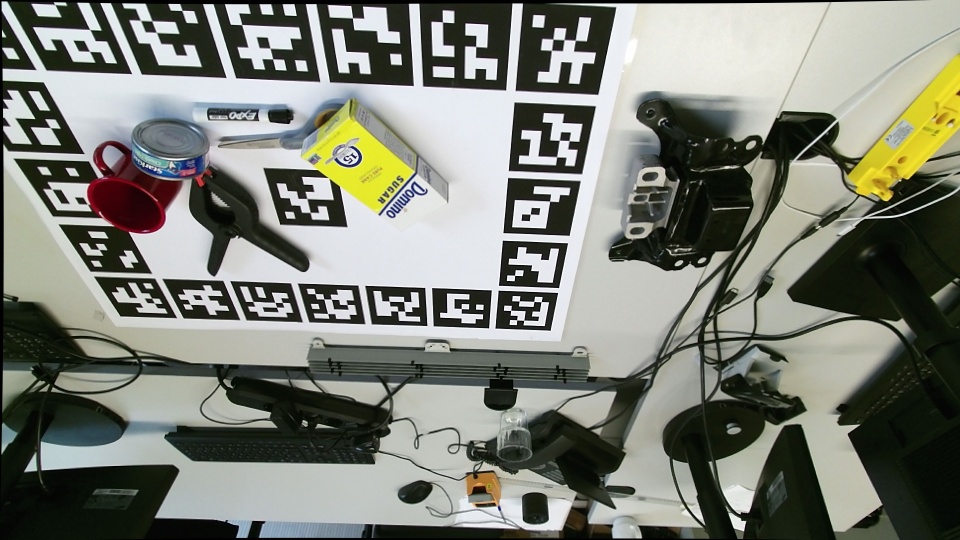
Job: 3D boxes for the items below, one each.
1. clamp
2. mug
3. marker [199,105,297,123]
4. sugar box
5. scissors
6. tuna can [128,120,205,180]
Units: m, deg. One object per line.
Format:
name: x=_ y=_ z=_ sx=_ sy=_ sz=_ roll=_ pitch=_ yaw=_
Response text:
clamp: x=-0.370 y=-0.069 z=0.804 sx=0.166 sy=0.036 sz=0.203 roll=-6 pitch=131 yaw=7
mug: x=-0.459 y=-0.119 z=0.720 sx=0.093 sy=0.081 sz=0.117 roll=-19 pitch=132 yaw=18
marker: x=-0.295 y=-0.199 z=0.683 sx=0.121 sy=0.019 sz=0.019 roll=-2 pitch=131 yaw=2
sugar box: x=-0.143 y=-0.135 z=0.713 sx=0.093 sy=0.045 sz=0.177 roll=-28 pitch=132 yaw=24
scissors: x=-0.250 y=-0.165 z=0.709 sx=0.203 sy=0.016 sz=0.088 roll=-6 pitch=136 yaw=8
tuna can: x=-0.398 y=-0.154 z=0.681 sx=0.086 sy=0.085 sz=0.034 roll=14 pitch=131 yaw=-12
